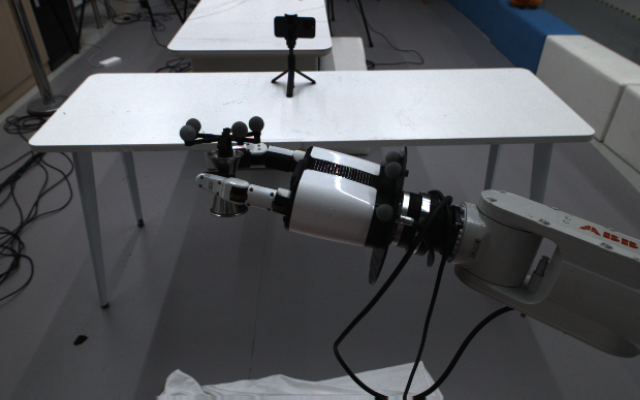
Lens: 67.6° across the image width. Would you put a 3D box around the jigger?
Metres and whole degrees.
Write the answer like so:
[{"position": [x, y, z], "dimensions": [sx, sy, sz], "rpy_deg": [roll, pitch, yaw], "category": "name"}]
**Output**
[{"position": [-0.104, -0.019, 0.548], "dimensions": [0.043, 0.071, 0.043], "rpy_deg": [0, 21, 0], "category": "jigger"}]
